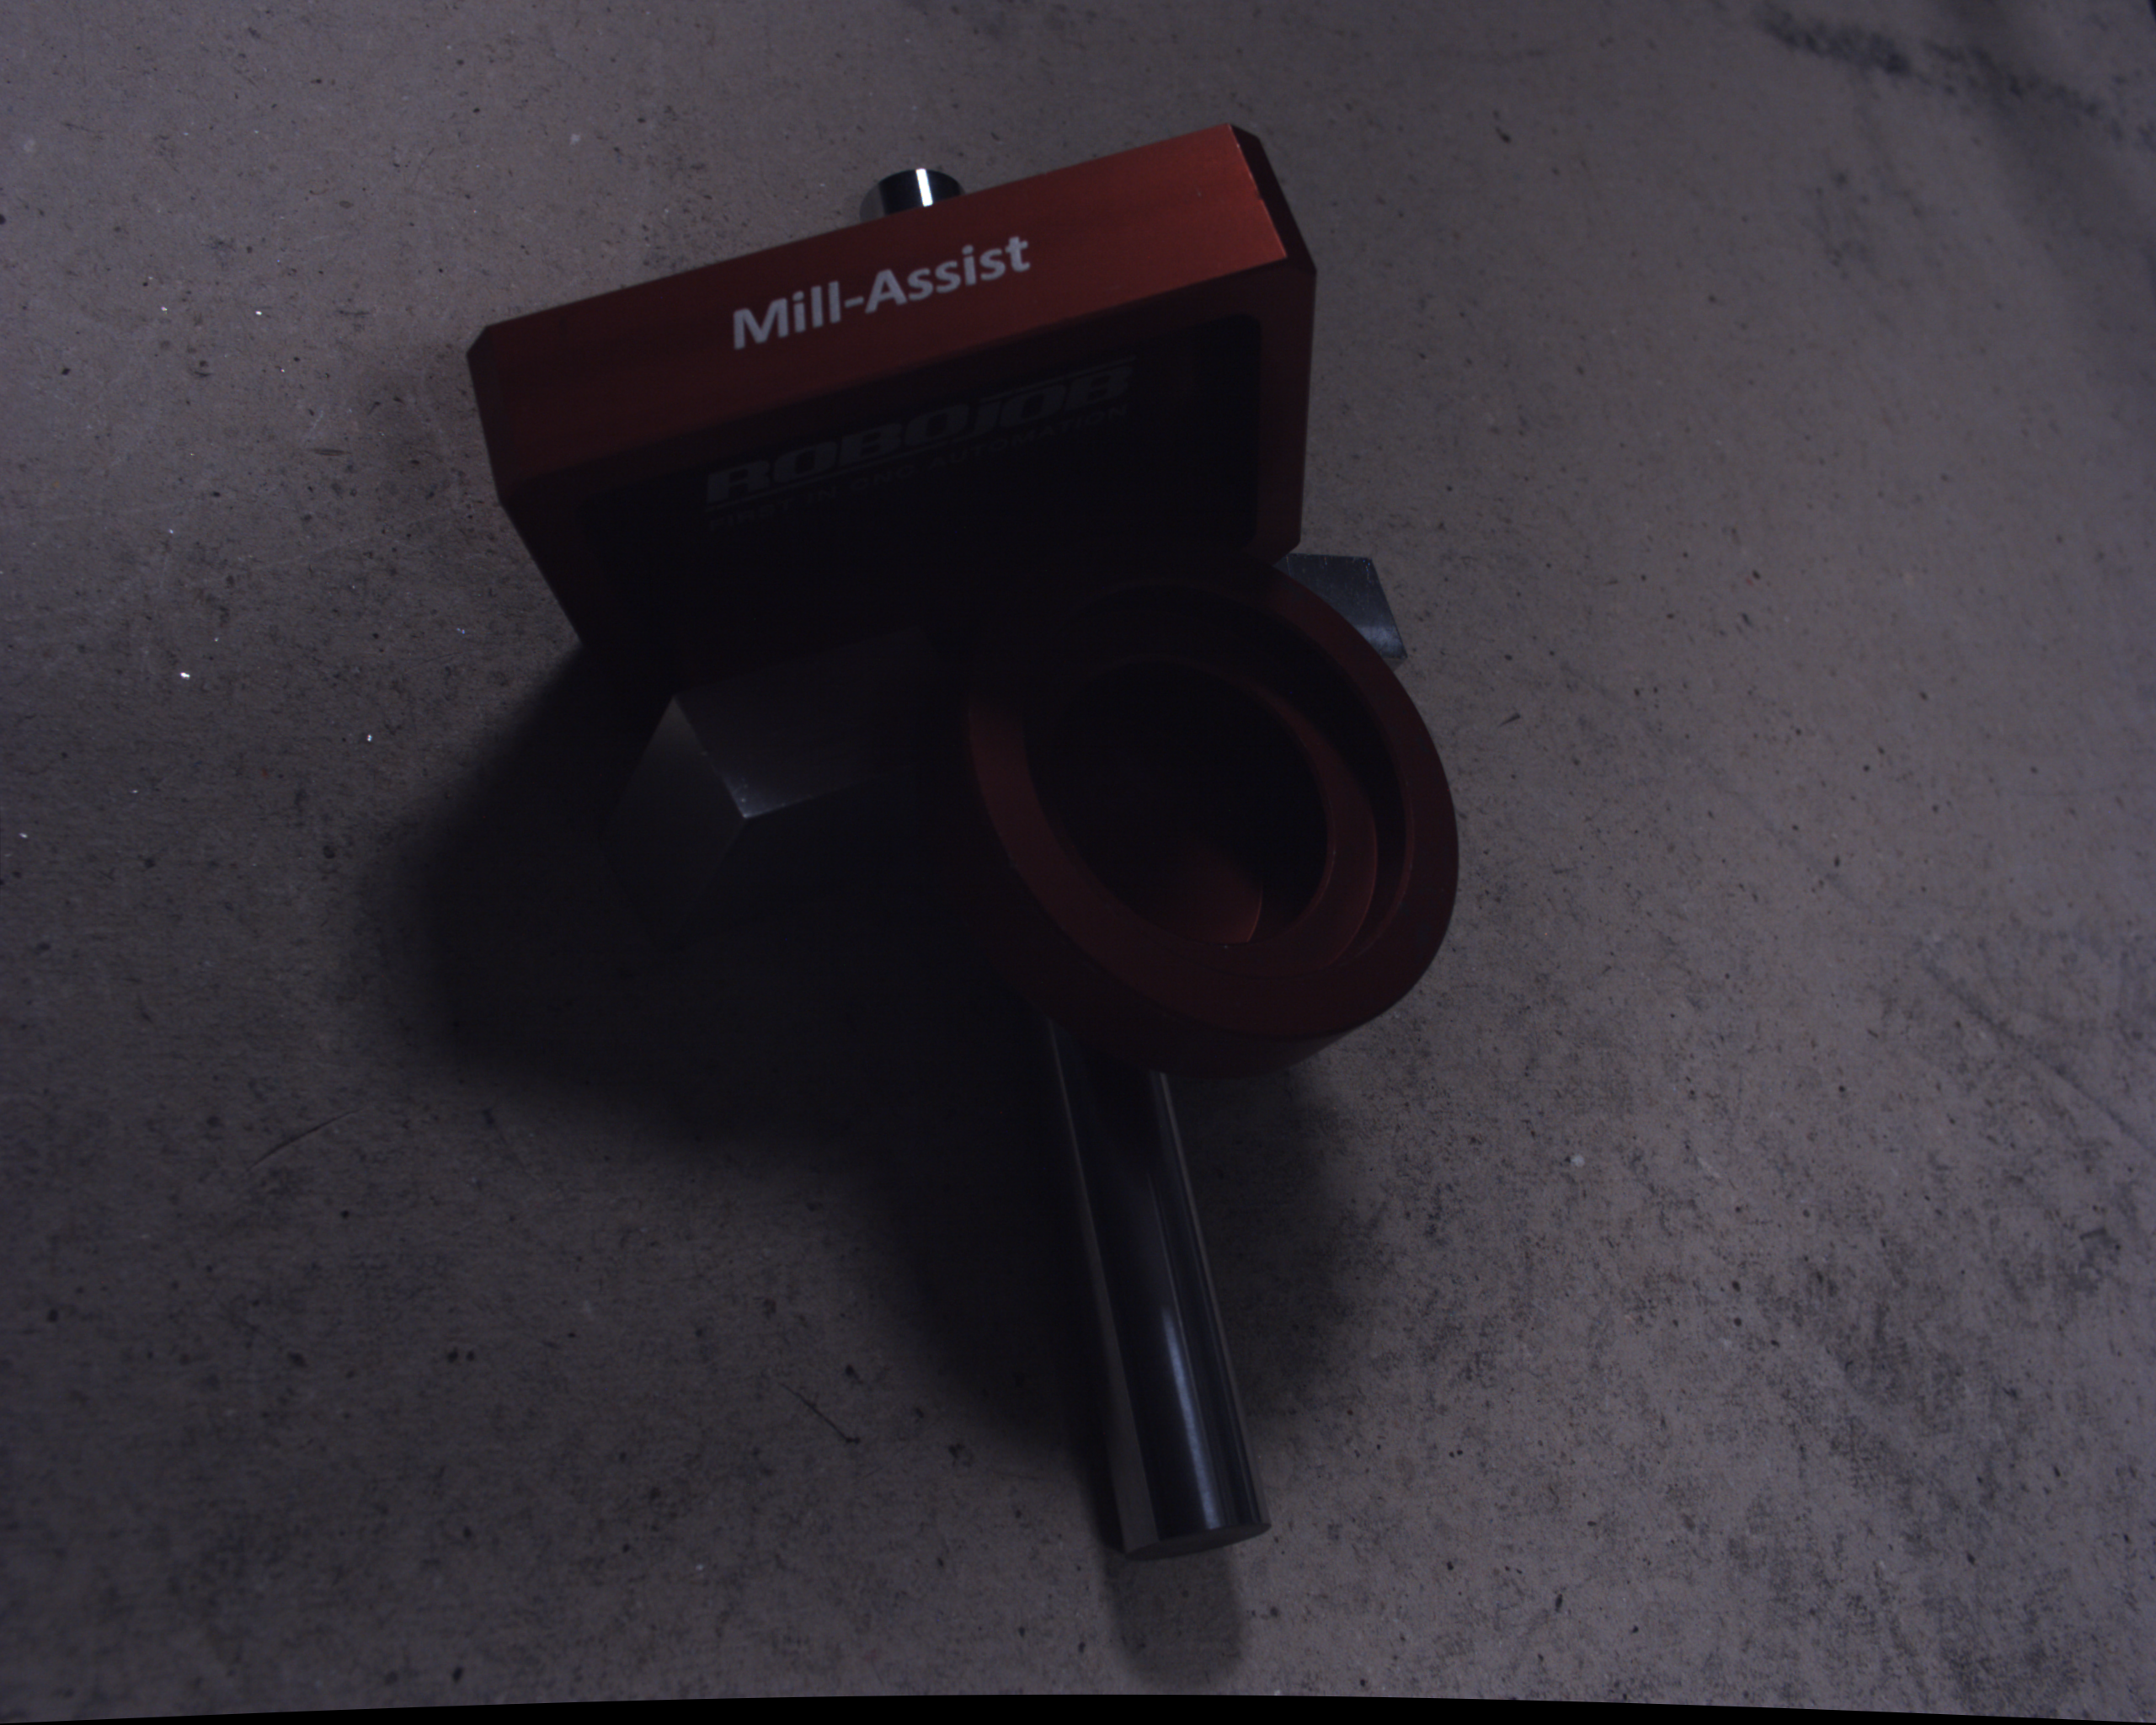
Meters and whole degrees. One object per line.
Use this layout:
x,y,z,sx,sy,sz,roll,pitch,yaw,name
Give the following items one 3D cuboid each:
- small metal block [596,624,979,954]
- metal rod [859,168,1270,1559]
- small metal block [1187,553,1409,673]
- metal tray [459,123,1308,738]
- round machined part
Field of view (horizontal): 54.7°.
-0.051,-0.013,0.370,0.050,0.050,0.025,-21,73,-36,small metal block
-0.009,-0.018,0.413,0.025,0.025,0.299,2,61,-28,metal rod
0.031,-0.040,0.432,0.050,0.050,0.025,-2,63,-29,small metal block
-0.028,-0.070,0.363,0.131,0.090,0.030,-17,67,-4,metal tray
0.016,-0.007,0.373,0.099,0.042,0.098,14,59,-24,round machined part
